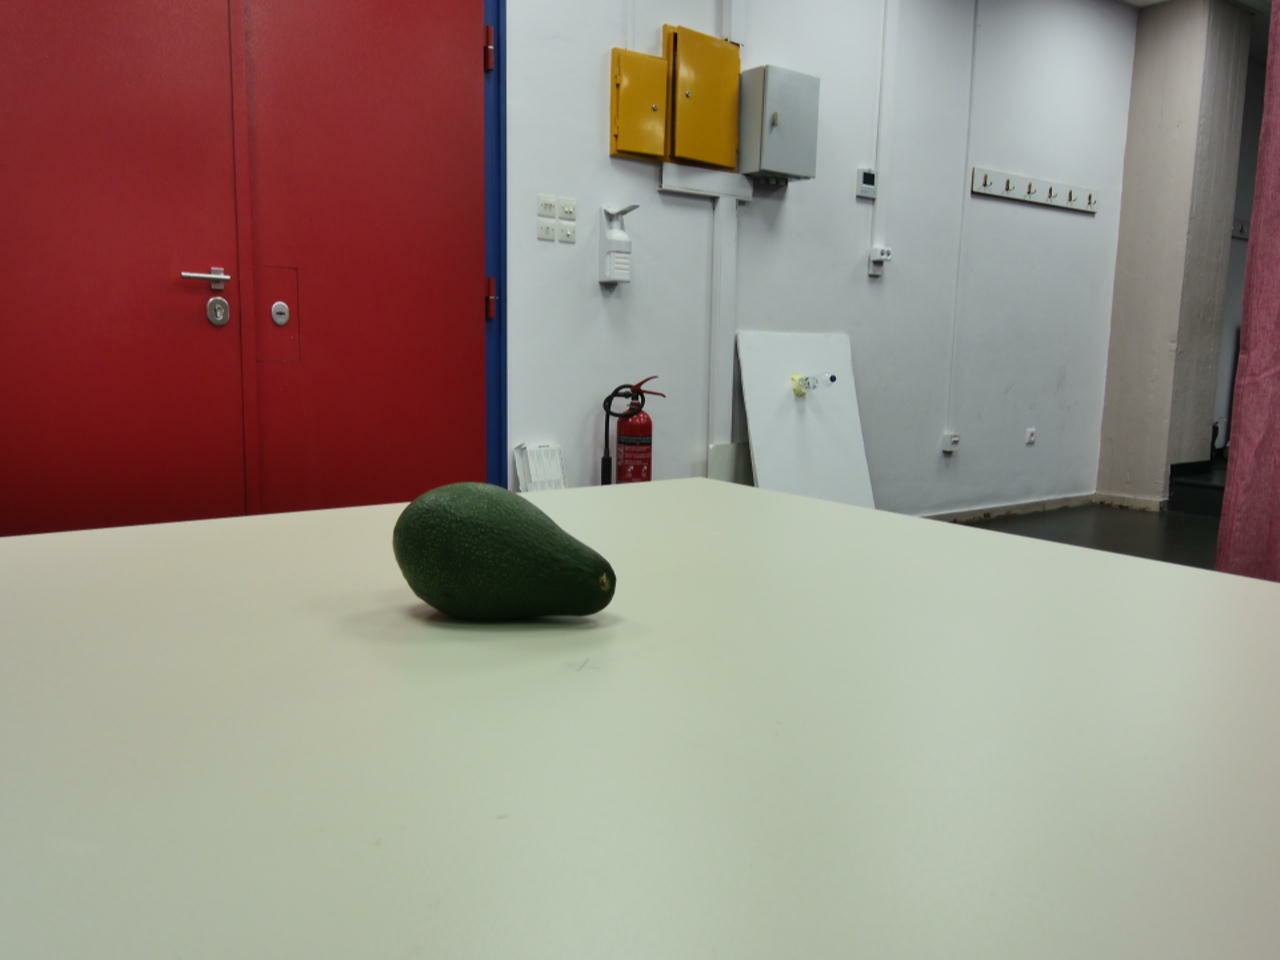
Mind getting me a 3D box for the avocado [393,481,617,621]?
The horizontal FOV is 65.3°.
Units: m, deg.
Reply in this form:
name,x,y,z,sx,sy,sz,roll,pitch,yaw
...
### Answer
name,x,y,z,sx,sy,sz,roll,pitch,yaw
avocado,-0.073,0.037,0.514,0.110,0.071,0.072,4,7,30
